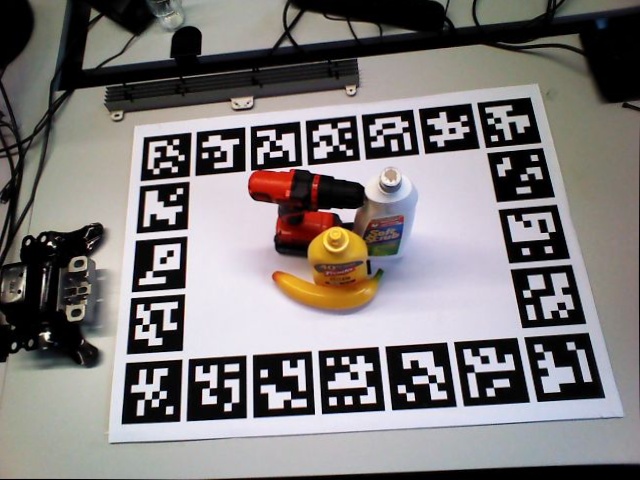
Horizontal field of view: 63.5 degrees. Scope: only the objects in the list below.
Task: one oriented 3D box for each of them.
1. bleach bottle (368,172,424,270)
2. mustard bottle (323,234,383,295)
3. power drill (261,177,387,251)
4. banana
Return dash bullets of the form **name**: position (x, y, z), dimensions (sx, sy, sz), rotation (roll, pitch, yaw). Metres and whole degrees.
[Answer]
- **bleach bottle**: position (0.119, -0.031, 0.801), dimensions (0.103, 0.251, 0.067), rotation (-1, 64, 5)
- **mustard bottle**: position (0.053, 0.036, 0.808), dimensions (0.096, 0.192, 0.058), rotation (-3, 69, 3)
- **power drill**: position (0.009, -0.034, 0.817), dimensions (0.185, 0.187, 0.057), rotation (8, 69, 7)
- **banana**: position (0.042, 0.095, 0.880), dimensions (0.198, 0.039, 0.074), rotation (0, 71, 8)
